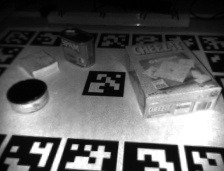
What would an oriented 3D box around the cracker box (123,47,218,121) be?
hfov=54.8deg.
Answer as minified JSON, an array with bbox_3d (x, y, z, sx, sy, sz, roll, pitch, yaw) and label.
[{"bbox_3d":[0.132,-0.019,0.545,0.165,0.072,0.211,-7,39,-10],"label":"cracker box"}]

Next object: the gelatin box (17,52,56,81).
[{"bbox_3d":[-0.215,-0.058,0.619,0.074,0.030,0.088,-30,51,-34],"label":"gelatin box"}]

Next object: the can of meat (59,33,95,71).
[{"bbox_3d":[-0.100,-0.098,0.636,0.100,0.084,0.058,23,46,27],"label":"can of meat"}]

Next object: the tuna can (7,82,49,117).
[{"bbox_3d":[-0.195,0.032,0.507,0.086,0.034,0.085,-1,44,2],"label":"tuna can"}]
